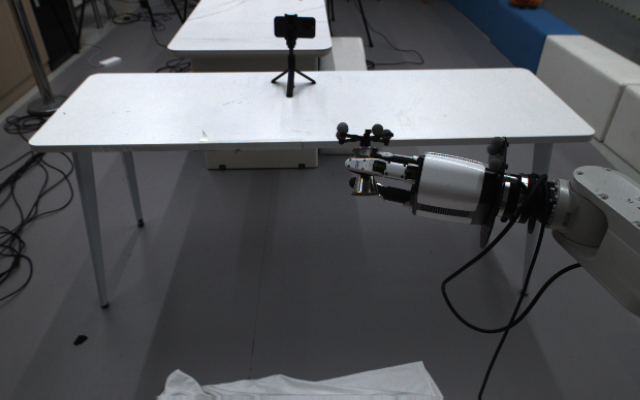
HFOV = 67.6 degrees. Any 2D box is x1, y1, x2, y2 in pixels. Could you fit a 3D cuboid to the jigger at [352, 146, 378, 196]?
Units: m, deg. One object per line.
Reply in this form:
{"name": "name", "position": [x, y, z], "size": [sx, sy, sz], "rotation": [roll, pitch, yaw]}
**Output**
{"name": "jigger", "position": [0.066, -0.043, 0.720], "size": [0.043, 0.071, 0.043], "rotation": [1, -5, 0]}
